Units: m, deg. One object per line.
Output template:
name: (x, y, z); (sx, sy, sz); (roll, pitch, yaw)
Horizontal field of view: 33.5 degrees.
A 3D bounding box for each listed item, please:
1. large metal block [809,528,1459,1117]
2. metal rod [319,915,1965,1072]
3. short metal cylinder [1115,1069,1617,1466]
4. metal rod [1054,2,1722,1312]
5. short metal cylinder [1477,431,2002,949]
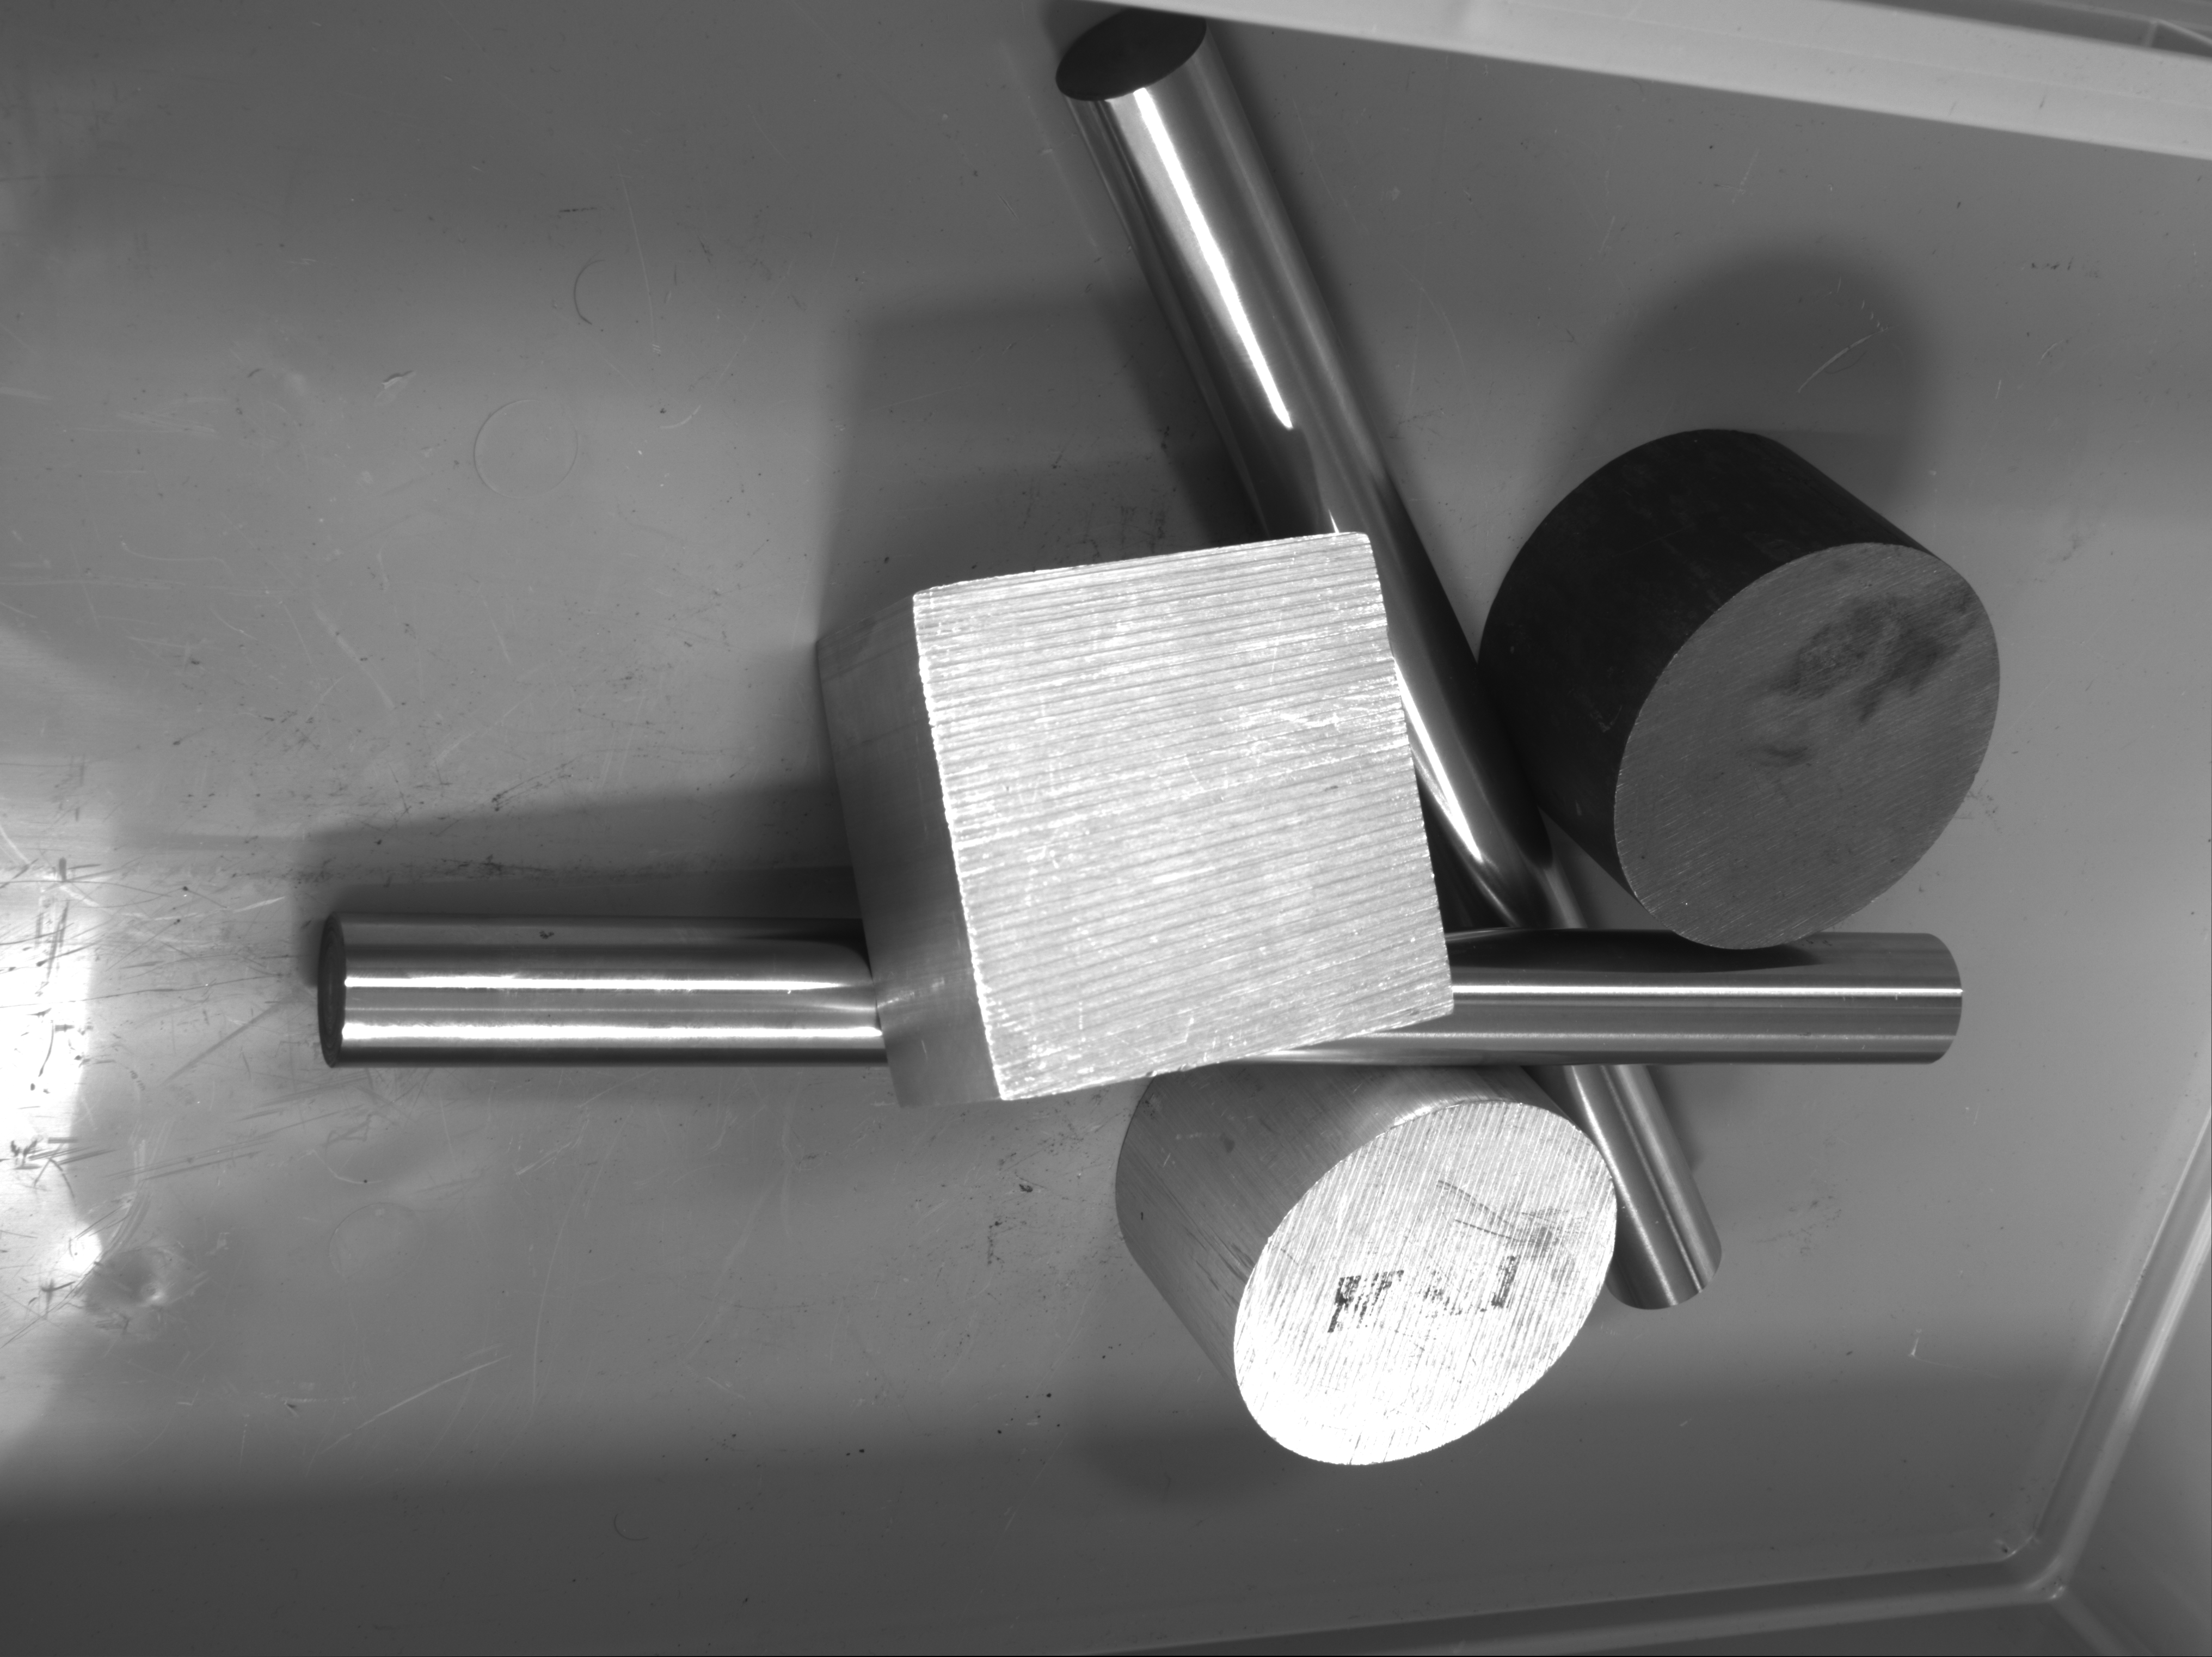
large metal block: (0.004, 0.000, 0.599); (0.080, 0.050, 0.080); (-9, 88, -23)
metal rod: (0.016, 0.030, 0.641); (0.301, 0.025, 0.025); (1, 118, -22)
short metal cylinder: (0.048, 0.072, 0.690); (0.080, 0.050, 0.080); (-13, 124, -21)
metal rod: (0.059, -0.015, 0.659); (0.025, 0.025, 0.301); (-33, 129, -7)
short metal cylinder: (0.114, -0.025, 0.667); (0.080, 0.050, 0.080); (-13, 124, -21)
